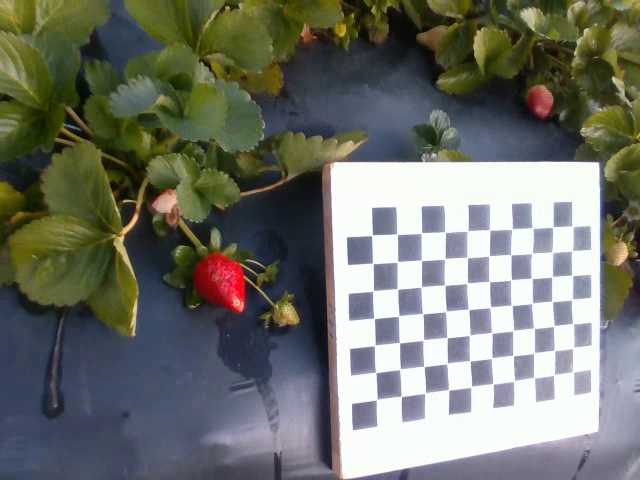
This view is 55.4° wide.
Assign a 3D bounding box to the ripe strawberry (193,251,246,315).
[{"bbox_3d":[-0.074,0.039,0.481,0.043,0.052,0.057,-29,41,-13],"label":"ripe strawberry"}]
